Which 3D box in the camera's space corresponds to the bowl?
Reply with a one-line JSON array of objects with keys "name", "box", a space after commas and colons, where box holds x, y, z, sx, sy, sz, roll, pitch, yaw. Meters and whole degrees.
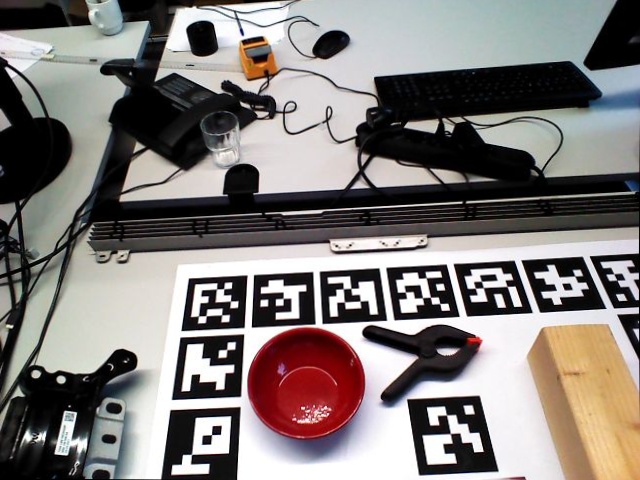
[{"name": "bowl", "box": [-0.011, 0.202, 0.712, 0.162, 0.055, 0.160, -2, 53, 2]}]

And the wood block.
[{"name": "wood block", "box": [0.360, 0.213, 0.639, 0.090, 0.091, 0.205, -1, 51, 2]}]

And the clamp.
[{"name": "clamp", "box": [0.149, 0.165, 0.742, 0.165, 0.037, 0.121, -11, 51, -7]}]
